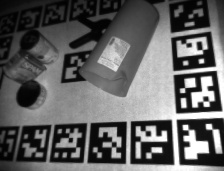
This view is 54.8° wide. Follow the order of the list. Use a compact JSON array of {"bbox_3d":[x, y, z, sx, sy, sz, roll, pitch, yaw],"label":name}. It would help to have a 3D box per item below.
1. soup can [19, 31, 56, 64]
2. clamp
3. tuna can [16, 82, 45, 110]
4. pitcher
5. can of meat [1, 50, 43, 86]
[{"bbox_3d":[-0.239,-0.119,0.692,0.067,0.103,0.068,-7,71,21],"label":"soup can"},{"bbox_3d":[-0.077,-0.178,0.700,0.164,0.037,0.121,-3,67,15],"label":"clamp"},{"bbox_3d":[-0.256,0.035,0.680,0.085,0.034,0.085,-6,72,18],"label":"tuna can"},{"bbox_3d":[0.007,-0.105,0.575,0.186,0.135,0.243,8,66,46],"label":"pitcher"},{"bbox_3d":[-0.285,-0.051,0.679,0.083,0.103,0.057,-42,64,7],"label":"can of meat"}]
